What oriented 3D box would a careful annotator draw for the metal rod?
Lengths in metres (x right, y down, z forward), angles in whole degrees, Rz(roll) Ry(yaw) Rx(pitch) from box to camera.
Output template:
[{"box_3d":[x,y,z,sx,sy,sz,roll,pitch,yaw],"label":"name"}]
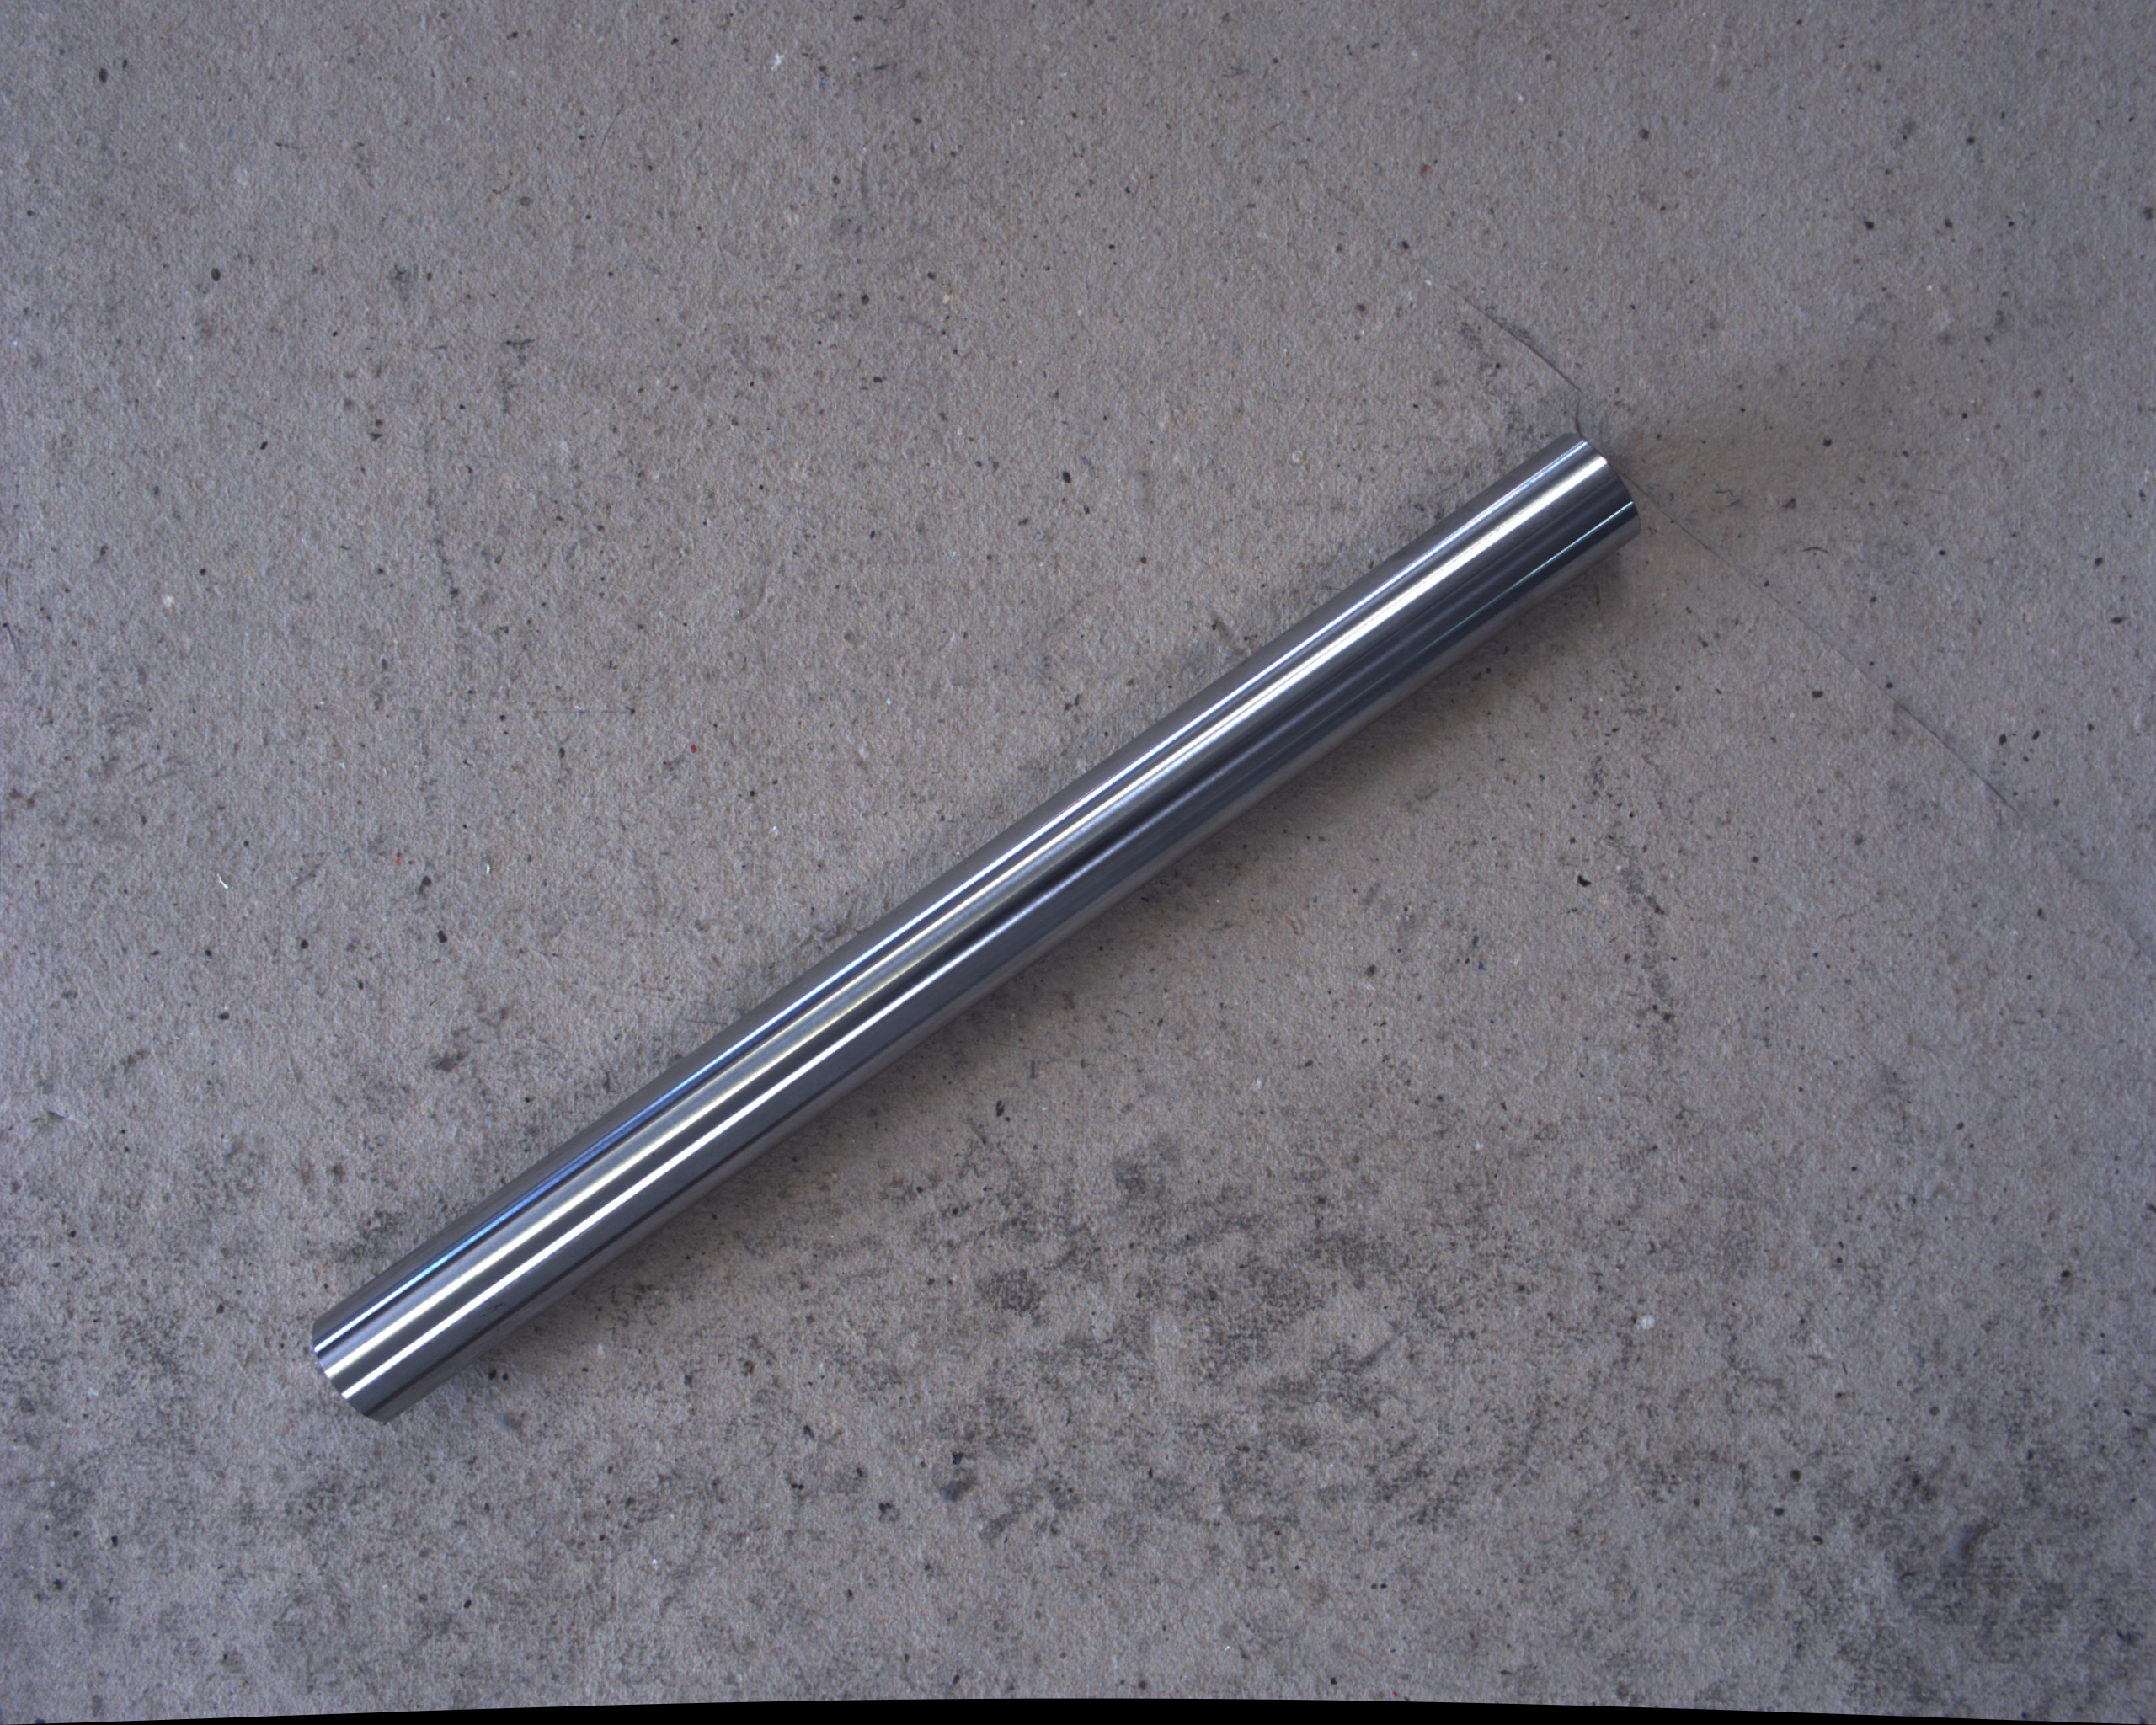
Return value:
[{"box_3d":[-0.020,0.013,0.411,0.301,0.025,0.025,-35,90,0],"label":"metal rod"}]
